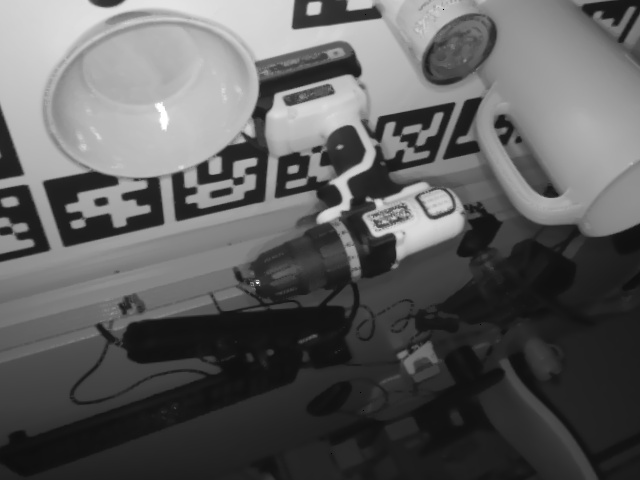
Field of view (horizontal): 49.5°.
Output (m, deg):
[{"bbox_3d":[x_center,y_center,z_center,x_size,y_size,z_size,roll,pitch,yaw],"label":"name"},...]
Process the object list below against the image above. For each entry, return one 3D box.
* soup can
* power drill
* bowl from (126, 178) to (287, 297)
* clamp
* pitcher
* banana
[{"bbox_3d":[0.106,-0.070,0.729,0.068,0.102,0.067,-19,156,-8],"label":"soup can"},{"bbox_3d":[0.008,0.062,0.733,0.186,0.187,0.057,-16,146,-14],"label":"power drill"},{"bbox_3d":[-0.117,-0.012,0.696,0.163,0.055,0.160,-19,146,-12],"label":"bowl"},{"bbox_3d":[-0.046,-0.122,0.594,0.205,0.036,0.163,-15,142,-17],"label":"clamp"},{"bbox_3d":[0.237,-0.006,0.779,0.189,0.242,0.133,-27,151,2],"label":"pitcher"},{"bbox_3d":[0.214,-0.154,0.748,0.197,0.039,0.074,-26,156,3],"label":"banana"}]
